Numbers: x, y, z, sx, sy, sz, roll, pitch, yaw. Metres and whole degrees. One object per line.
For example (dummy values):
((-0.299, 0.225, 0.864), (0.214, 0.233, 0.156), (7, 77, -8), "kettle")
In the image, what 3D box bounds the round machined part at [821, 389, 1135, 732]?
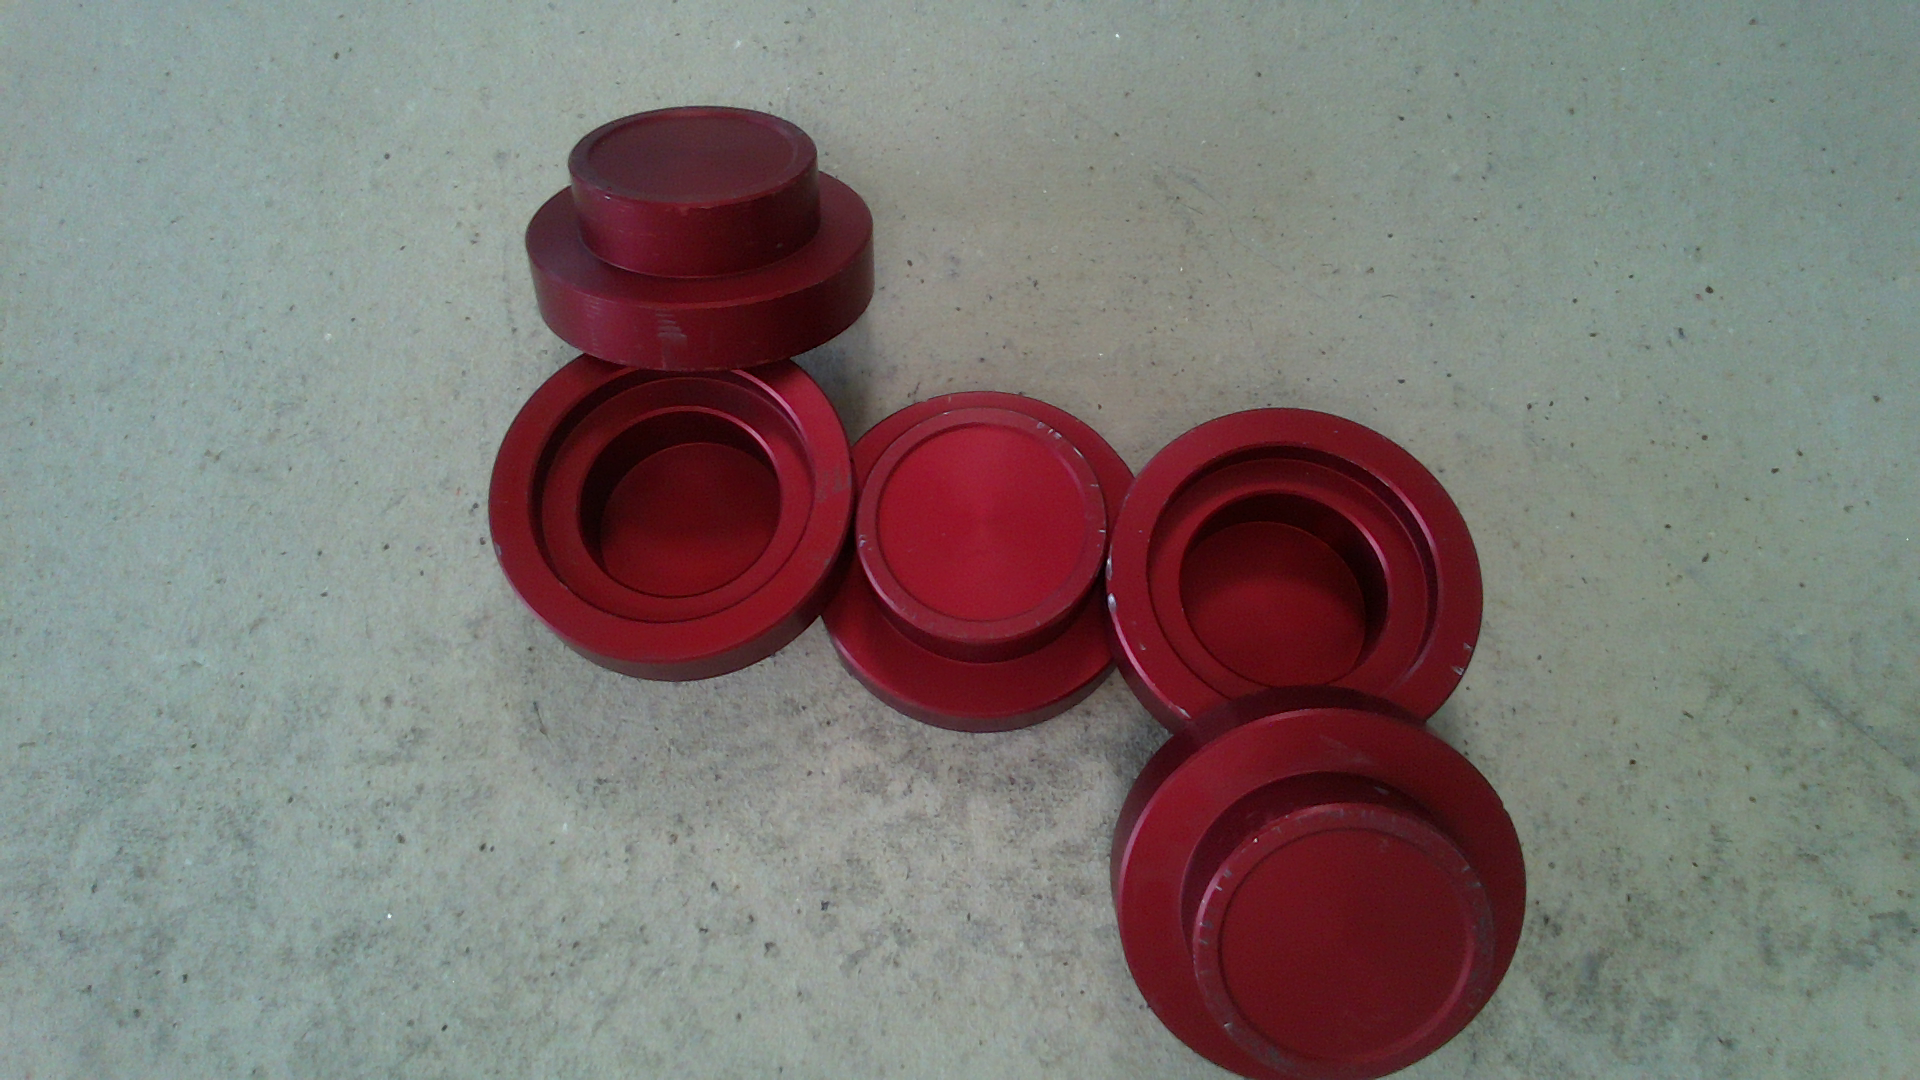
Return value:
((0.006, 0.001, 0.384), (0.098, 0.042, 0.098), (0, 68, 1), "round machined part")

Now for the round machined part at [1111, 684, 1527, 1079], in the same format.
((0.087, 0.087, 0.330), (0.098, 0.042, 0.098), (0, 99, 0), "round machined part")

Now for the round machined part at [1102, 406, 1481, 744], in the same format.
((0.088, 0.016, 0.379), (0.098, 0.042, 0.098), (0, 70, 1), "round machined part")

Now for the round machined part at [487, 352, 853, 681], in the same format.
((-0.077, -0.008, 0.388), (0.098, 0.042, 0.098), (0, 70, 1), "round machined part")

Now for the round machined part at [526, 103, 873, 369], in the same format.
((-0.074, -0.093, 0.395), (0.098, 0.042, 0.098), (1, 39, 0), "round machined part")
